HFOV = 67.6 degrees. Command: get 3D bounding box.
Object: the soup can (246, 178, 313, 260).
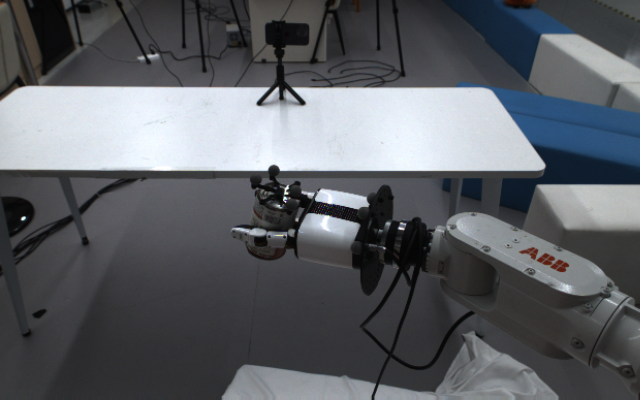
[{"bbox_3d":[-0.072,0.034,0.736,0.067,0.101,0.067,13,35,-9],"label":"soup can"}]
